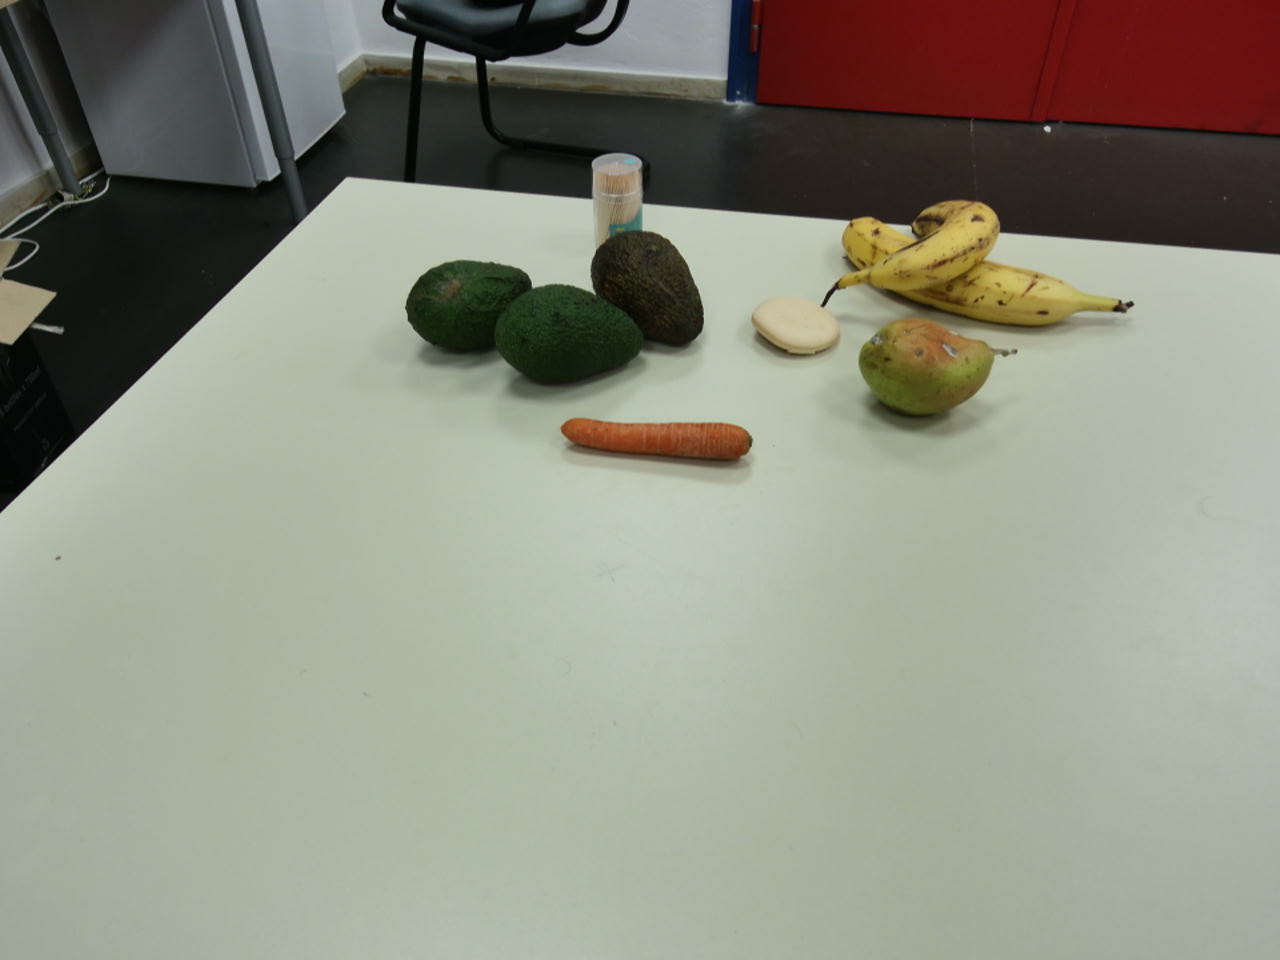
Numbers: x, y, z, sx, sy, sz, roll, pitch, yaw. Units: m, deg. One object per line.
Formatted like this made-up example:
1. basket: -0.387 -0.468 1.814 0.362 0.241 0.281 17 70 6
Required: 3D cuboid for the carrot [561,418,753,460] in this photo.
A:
1. carrot: 0.010 -0.028 0.628 0.122 0.023 0.024 6 39 8
